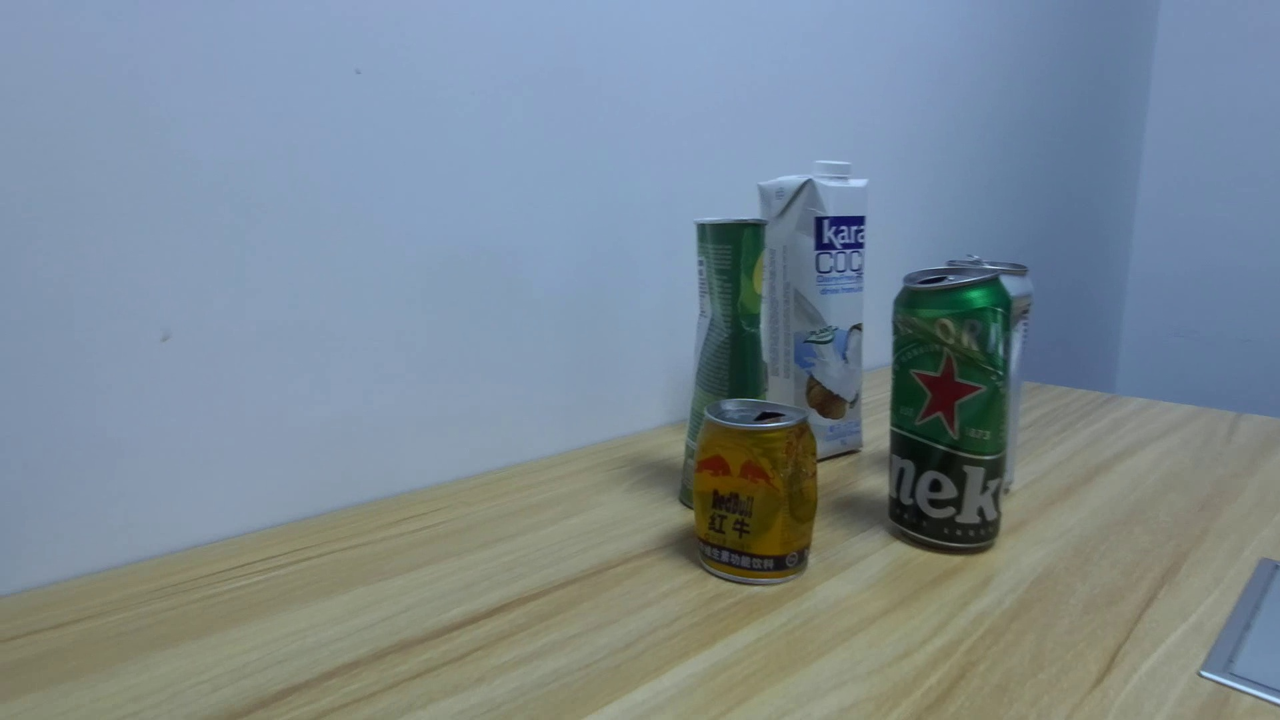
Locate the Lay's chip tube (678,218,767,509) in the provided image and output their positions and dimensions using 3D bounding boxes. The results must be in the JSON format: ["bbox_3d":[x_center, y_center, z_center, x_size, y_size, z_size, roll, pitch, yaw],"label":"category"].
[{"bbox_3d":[0.059,0.003,0.491,0.074,0.199,0.069,8,14,39],"label":"Lay's chip tube"}]

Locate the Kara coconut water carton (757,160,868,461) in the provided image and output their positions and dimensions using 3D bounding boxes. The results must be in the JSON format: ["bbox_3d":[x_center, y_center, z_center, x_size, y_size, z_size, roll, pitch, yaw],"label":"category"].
[{"bbox_3d":[0.146,-0.041,0.599,0.077,0.245,0.075,-8,11,-31],"label":"Kara coconut water carton"}]

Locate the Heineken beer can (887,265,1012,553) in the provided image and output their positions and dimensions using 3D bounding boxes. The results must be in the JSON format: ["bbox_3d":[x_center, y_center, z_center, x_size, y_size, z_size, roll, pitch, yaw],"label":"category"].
[{"bbox_3d":[0.190,0.031,0.437,0.069,0.168,0.068,1,12,23],"label":"Heineken beer can"}]

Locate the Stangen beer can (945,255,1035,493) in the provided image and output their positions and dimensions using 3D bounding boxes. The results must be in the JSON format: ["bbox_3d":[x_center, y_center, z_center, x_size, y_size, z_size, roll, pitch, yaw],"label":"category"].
[{"bbox_3d":[0.251,0.009,0.532,0.070,0.173,0.070,5,13,14],"label":"Stangen beer can"}]

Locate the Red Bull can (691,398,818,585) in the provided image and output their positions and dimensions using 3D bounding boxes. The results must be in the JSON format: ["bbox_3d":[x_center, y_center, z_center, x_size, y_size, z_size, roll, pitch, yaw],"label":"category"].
[{"bbox_3d":[0.067,0.073,0.410,0.072,0.092,0.072,-1,11,0],"label":"Red Bull can"}]
